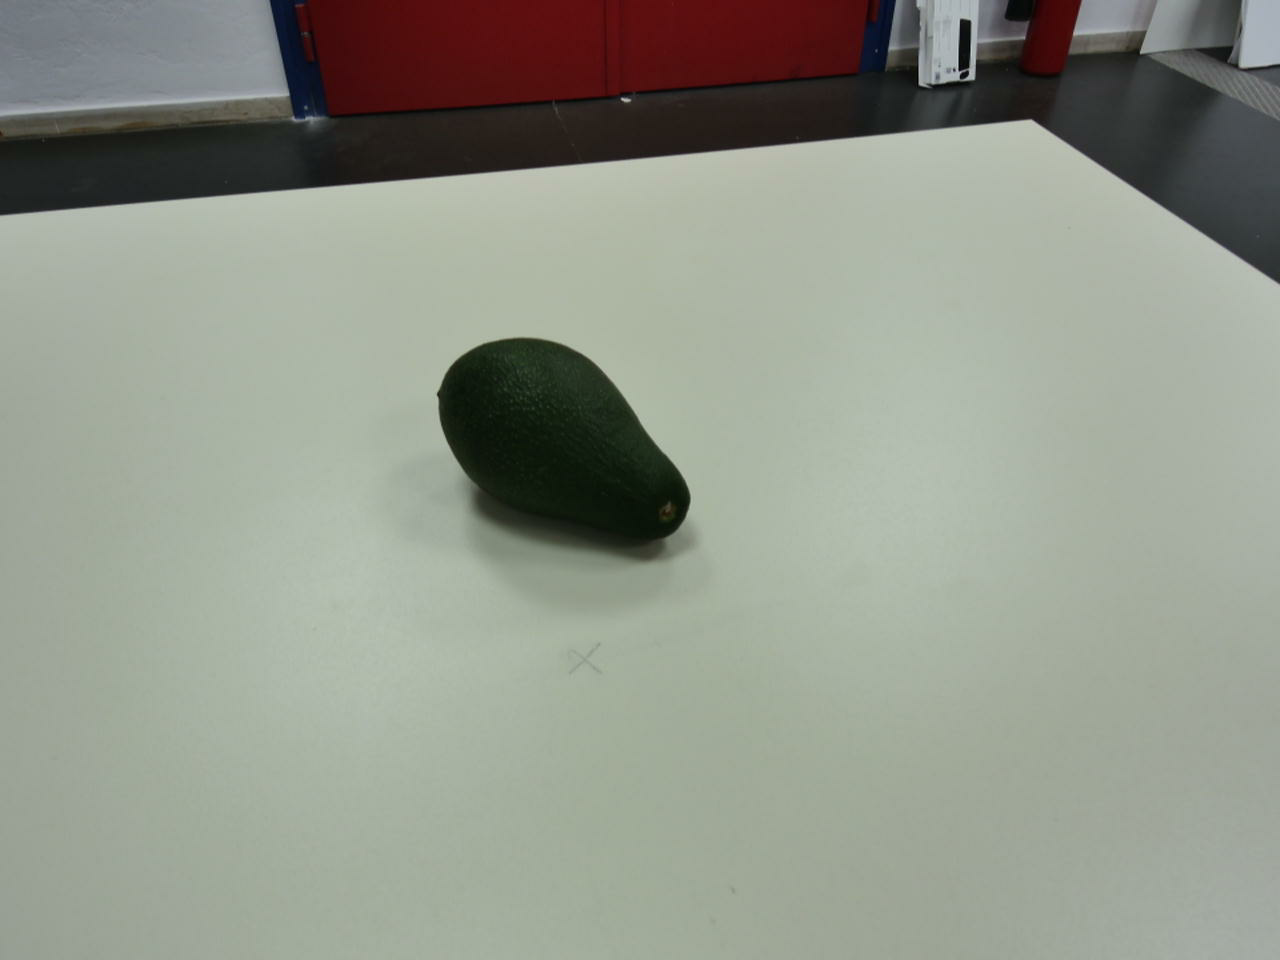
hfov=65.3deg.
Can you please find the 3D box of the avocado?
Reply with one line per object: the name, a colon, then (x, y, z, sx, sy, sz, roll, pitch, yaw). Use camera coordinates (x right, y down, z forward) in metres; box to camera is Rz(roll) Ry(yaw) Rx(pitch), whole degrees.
avocado: (-0.035, -0.017, 0.415, 0.072, 0.071, 0.109, -24, 44, -28)
